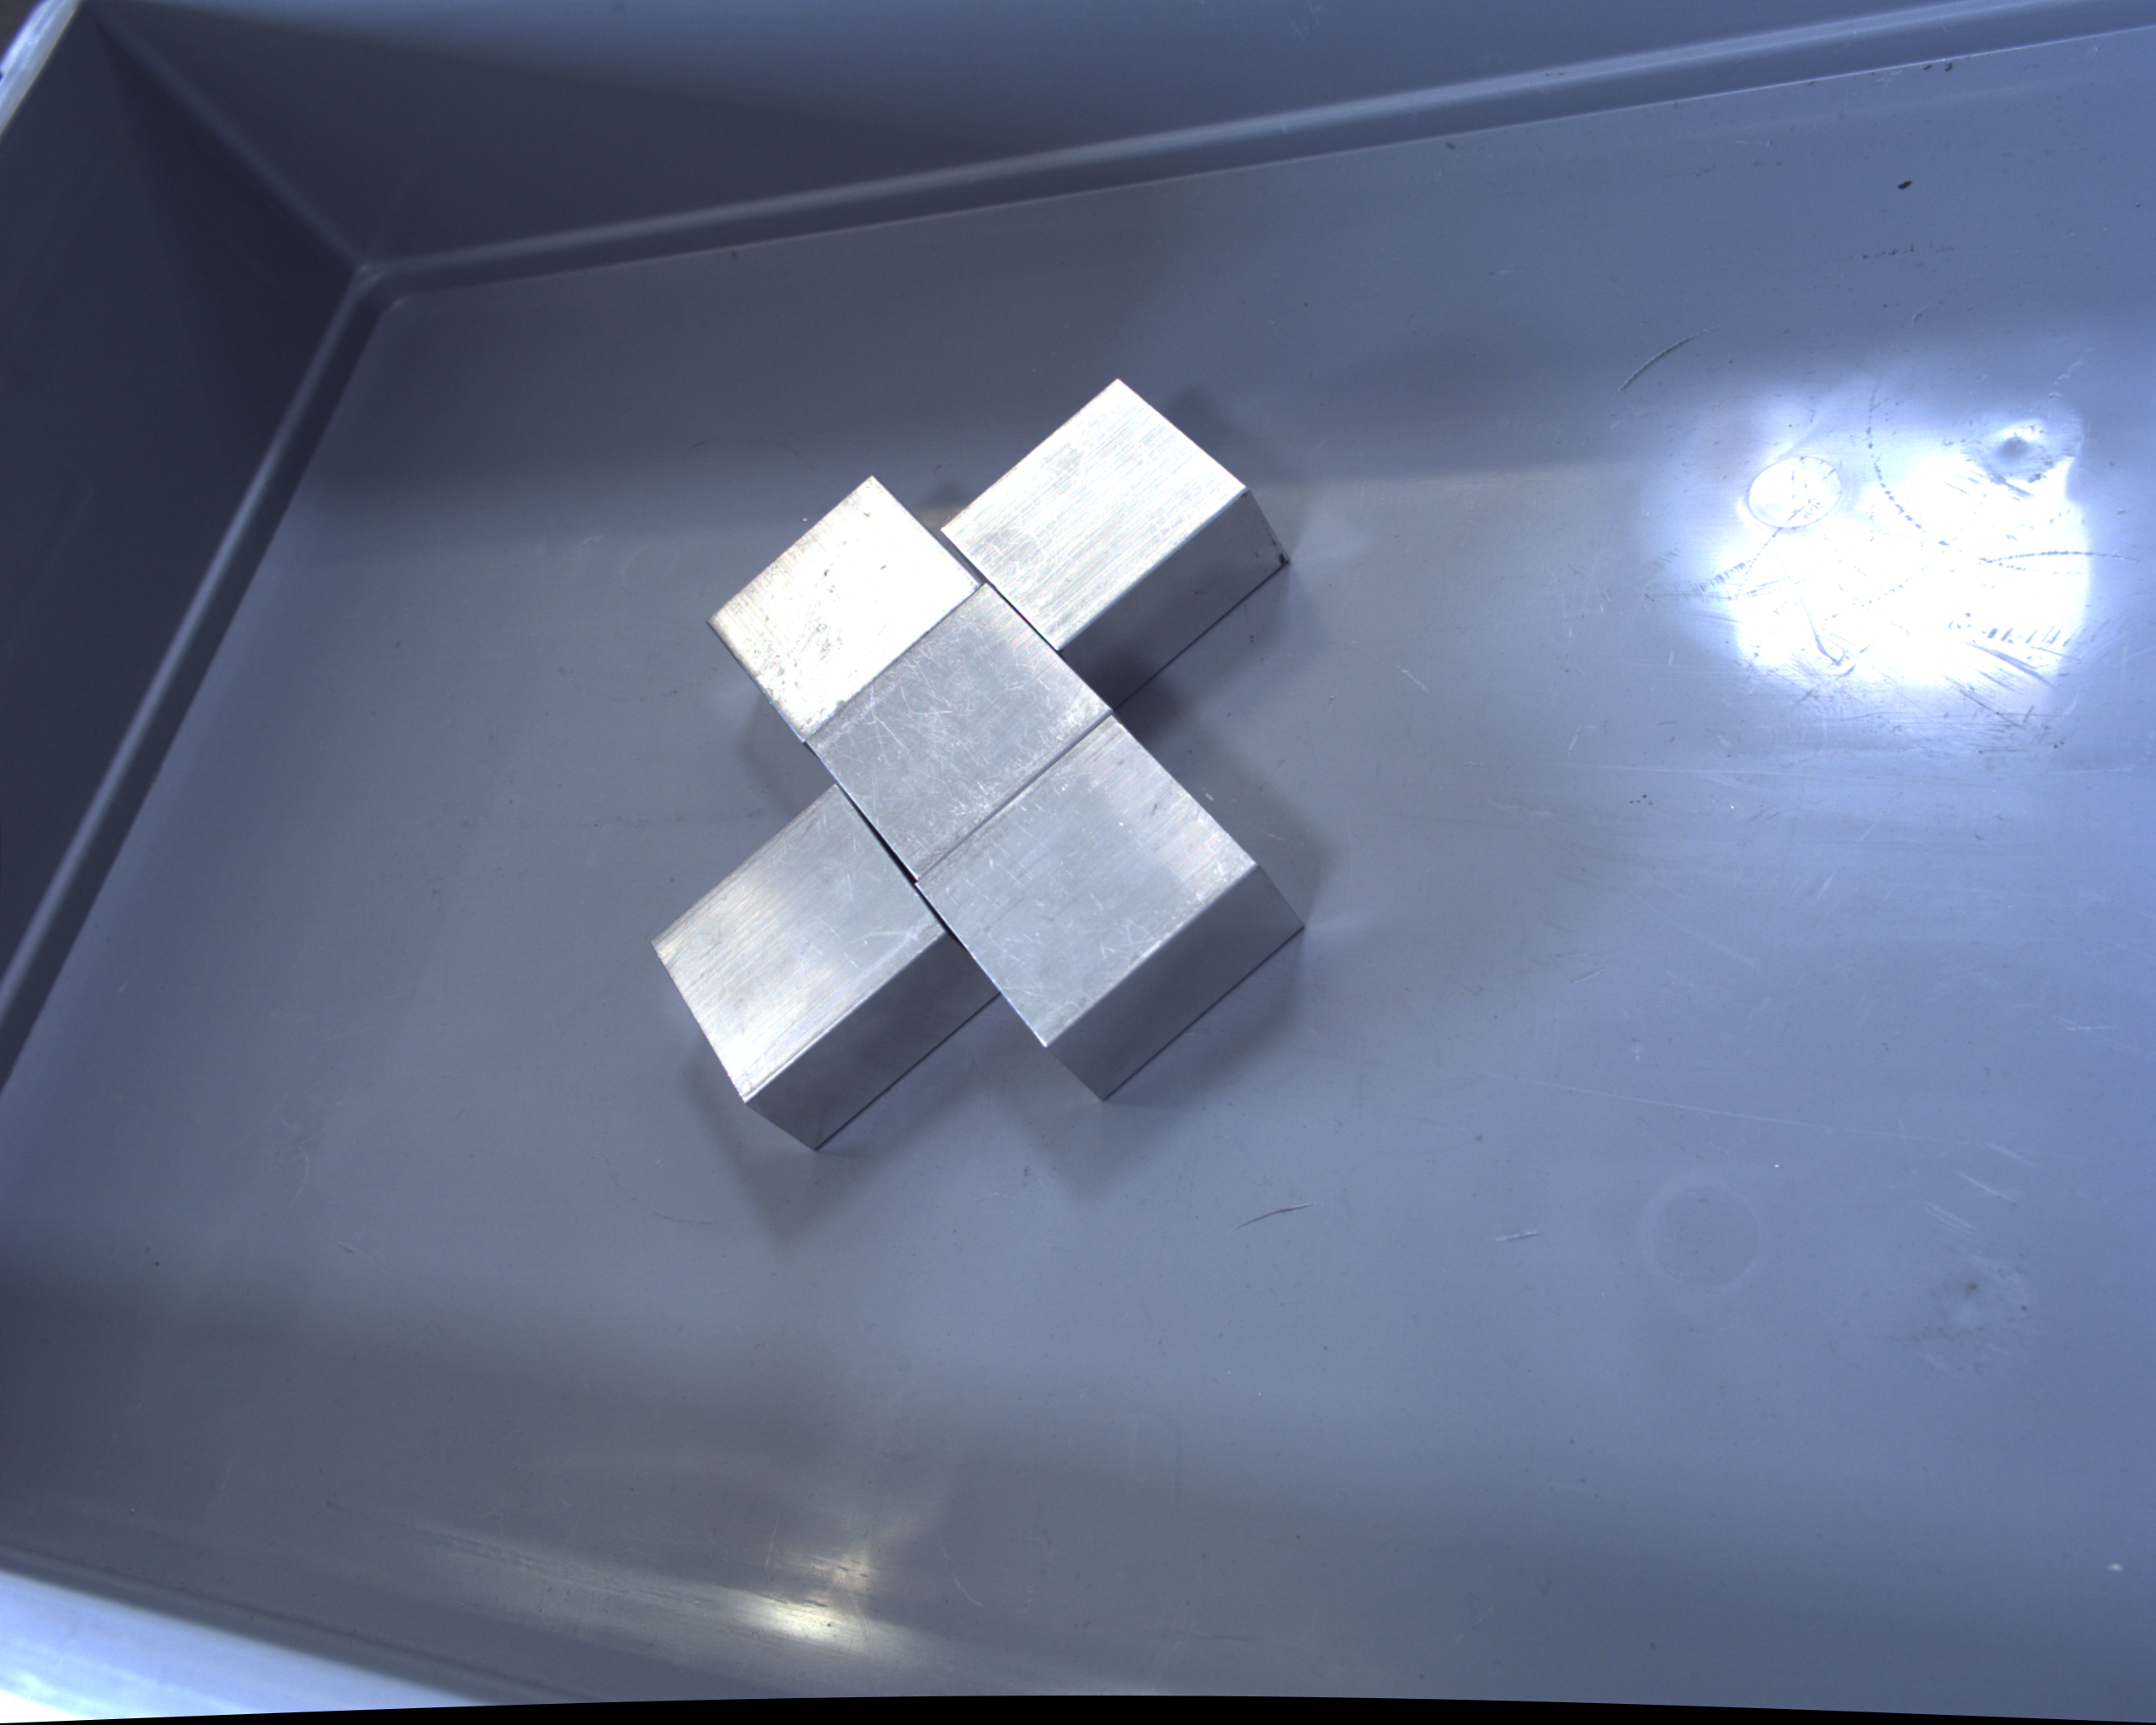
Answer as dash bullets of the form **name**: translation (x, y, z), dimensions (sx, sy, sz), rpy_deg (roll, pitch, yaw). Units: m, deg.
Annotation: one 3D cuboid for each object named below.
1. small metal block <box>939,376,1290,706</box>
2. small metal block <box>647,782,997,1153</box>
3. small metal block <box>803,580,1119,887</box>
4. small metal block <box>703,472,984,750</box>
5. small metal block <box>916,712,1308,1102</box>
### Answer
- **small metal block**: translation (0.007, -0.067, 0.441), dimensions (0.050, 0.025, 0.050), rpy_deg (-40, 51, -1)
- **small metal block**: translation (-0.051, 0.021, 0.418), dimensions (0.050, 0.025, 0.050), rpy_deg (-41, 51, 1)
- **small metal block**: translation (-0.020, -0.022, 0.426), dimensions (0.050, 0.025, 0.050), rpy_deg (-41, 51, 0)
- **small metal block**: translation (-0.046, -0.050, 0.458), dimensions (0.050, 0.025, 0.050), rpy_deg (-41, 51, 0)
- **small metal block**: translation (0.006, 0.008, 0.395), dimensions (0.050, 0.025, 0.050), rpy_deg (-41, 51, 0)
